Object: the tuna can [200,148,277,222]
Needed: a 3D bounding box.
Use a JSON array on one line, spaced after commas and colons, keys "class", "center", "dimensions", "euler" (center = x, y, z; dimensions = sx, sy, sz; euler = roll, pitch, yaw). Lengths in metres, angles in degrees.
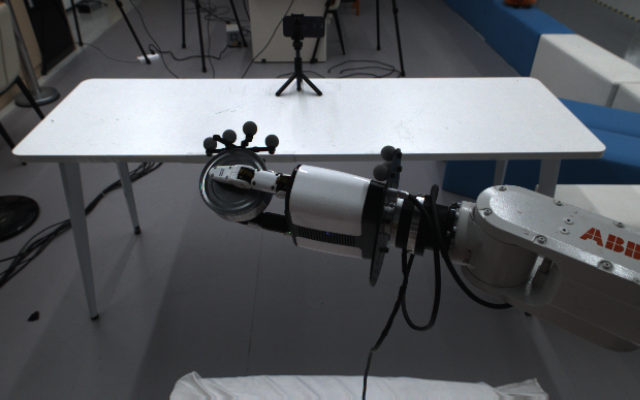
[{"class": "tuna can", "center": [-0.098, -0.013, 0.587], "dimensions": [0.085, 0.034, 0.085], "euler": [-2, 69, 6]}]
